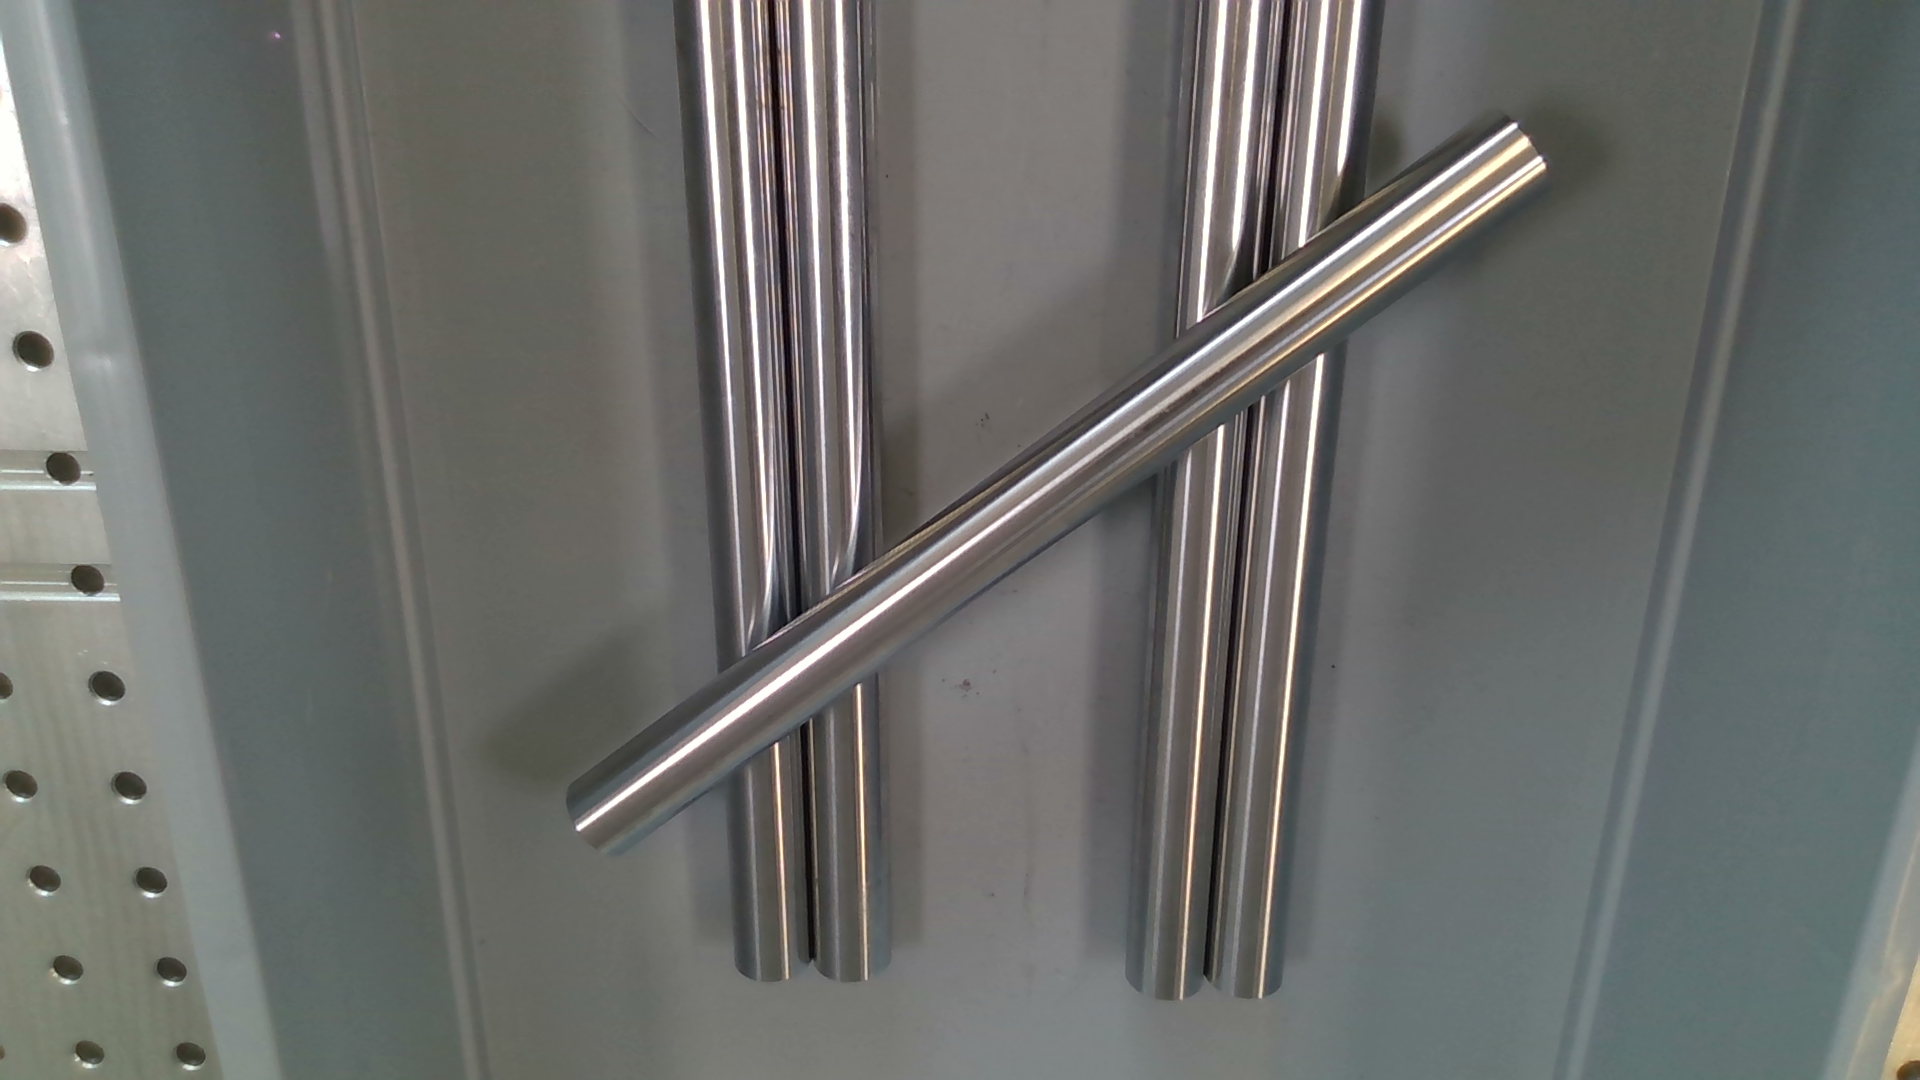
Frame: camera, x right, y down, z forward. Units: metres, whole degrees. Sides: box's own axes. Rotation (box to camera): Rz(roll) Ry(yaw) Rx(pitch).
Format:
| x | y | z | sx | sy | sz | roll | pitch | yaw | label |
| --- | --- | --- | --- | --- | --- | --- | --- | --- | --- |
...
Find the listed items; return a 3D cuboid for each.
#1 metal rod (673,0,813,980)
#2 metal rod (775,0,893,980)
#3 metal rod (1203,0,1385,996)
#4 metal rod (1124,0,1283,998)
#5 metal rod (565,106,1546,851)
| x | y | z | sx | sy | sz | roll | pitch | yaw | label |
| --- | --- | --- | --- | --- | --- | --- | --- | --- | --- |
| -0.059 | -0.008 | 0.389 | 0.025 | 0.025 | 0.301 | 0 | 110 | 0 | metal rod |
| -0.034 | -0.008 | 0.389 | 0.025 | 0.025 | 0.301 | 0 | 110 | 0 | metal rod |
| 0.091 | -0.003 | 0.391 | 0.025 | 0.025 | 0.301 | 1 | 110 | 0 | metal rod |
| 0.066 | -0.002 | 0.391 | 0.025 | 0.025 | 0.301 | 1 | 110 | 0 | metal rod |
| 0.015 | -0.008 | 0.363 | 0.300 | 0.025 | 0.025 | -36 | 106 | 12 | metal rod |
